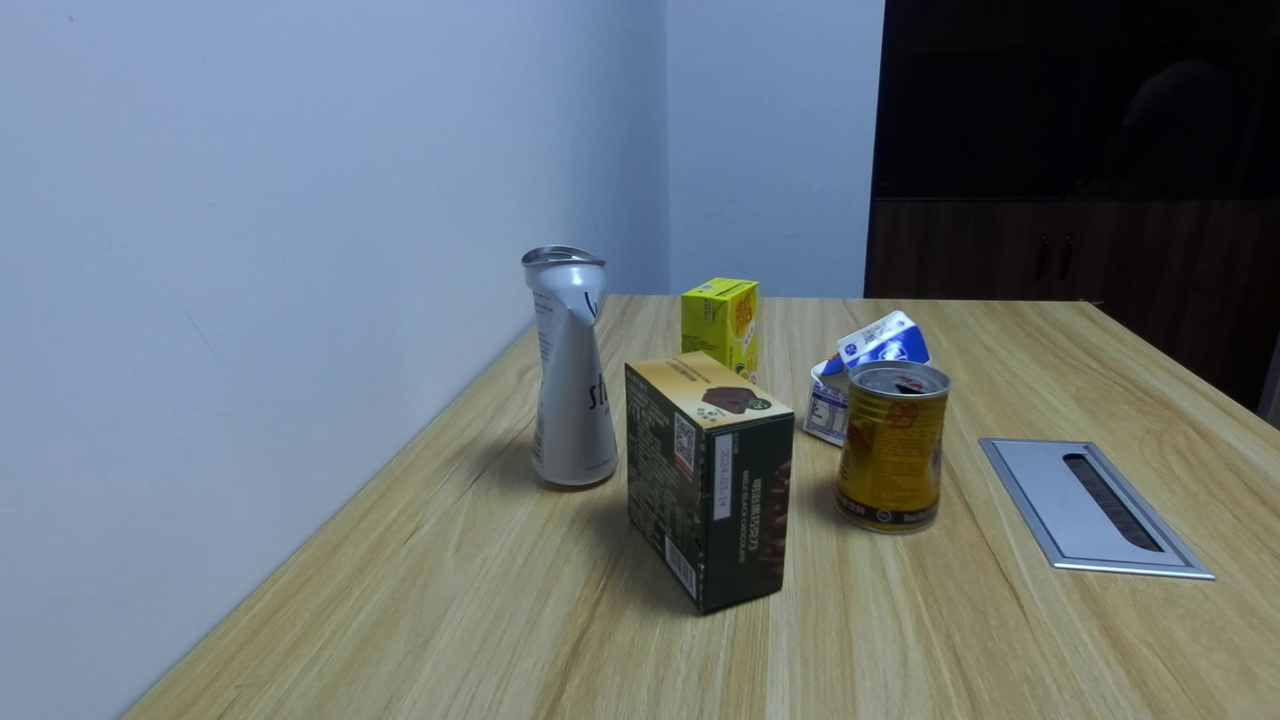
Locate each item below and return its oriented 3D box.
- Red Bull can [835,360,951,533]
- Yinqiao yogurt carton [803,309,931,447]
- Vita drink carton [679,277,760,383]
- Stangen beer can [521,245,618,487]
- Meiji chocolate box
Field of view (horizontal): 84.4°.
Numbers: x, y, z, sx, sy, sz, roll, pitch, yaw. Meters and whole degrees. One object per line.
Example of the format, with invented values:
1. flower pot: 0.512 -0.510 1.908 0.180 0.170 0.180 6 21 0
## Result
1. Red Bull can: 0.159 0.053 0.444 0.069 0.092 0.069 -2 21 1
2. Yinqiao yogurt carton: 0.182 0.013 0.549 0.083 0.093 0.077 -17 24 -36
3. Vita drink carton: 0.068 -0.009 0.593 0.043 0.109 0.067 10 24 31
4. Stangen beer can: -0.048 0.006 0.493 0.077 0.162 0.066 10 24 27
5. Meiji chocolate box: 0.036 0.064 0.405 0.056 0.109 0.109 -9 21 -20
